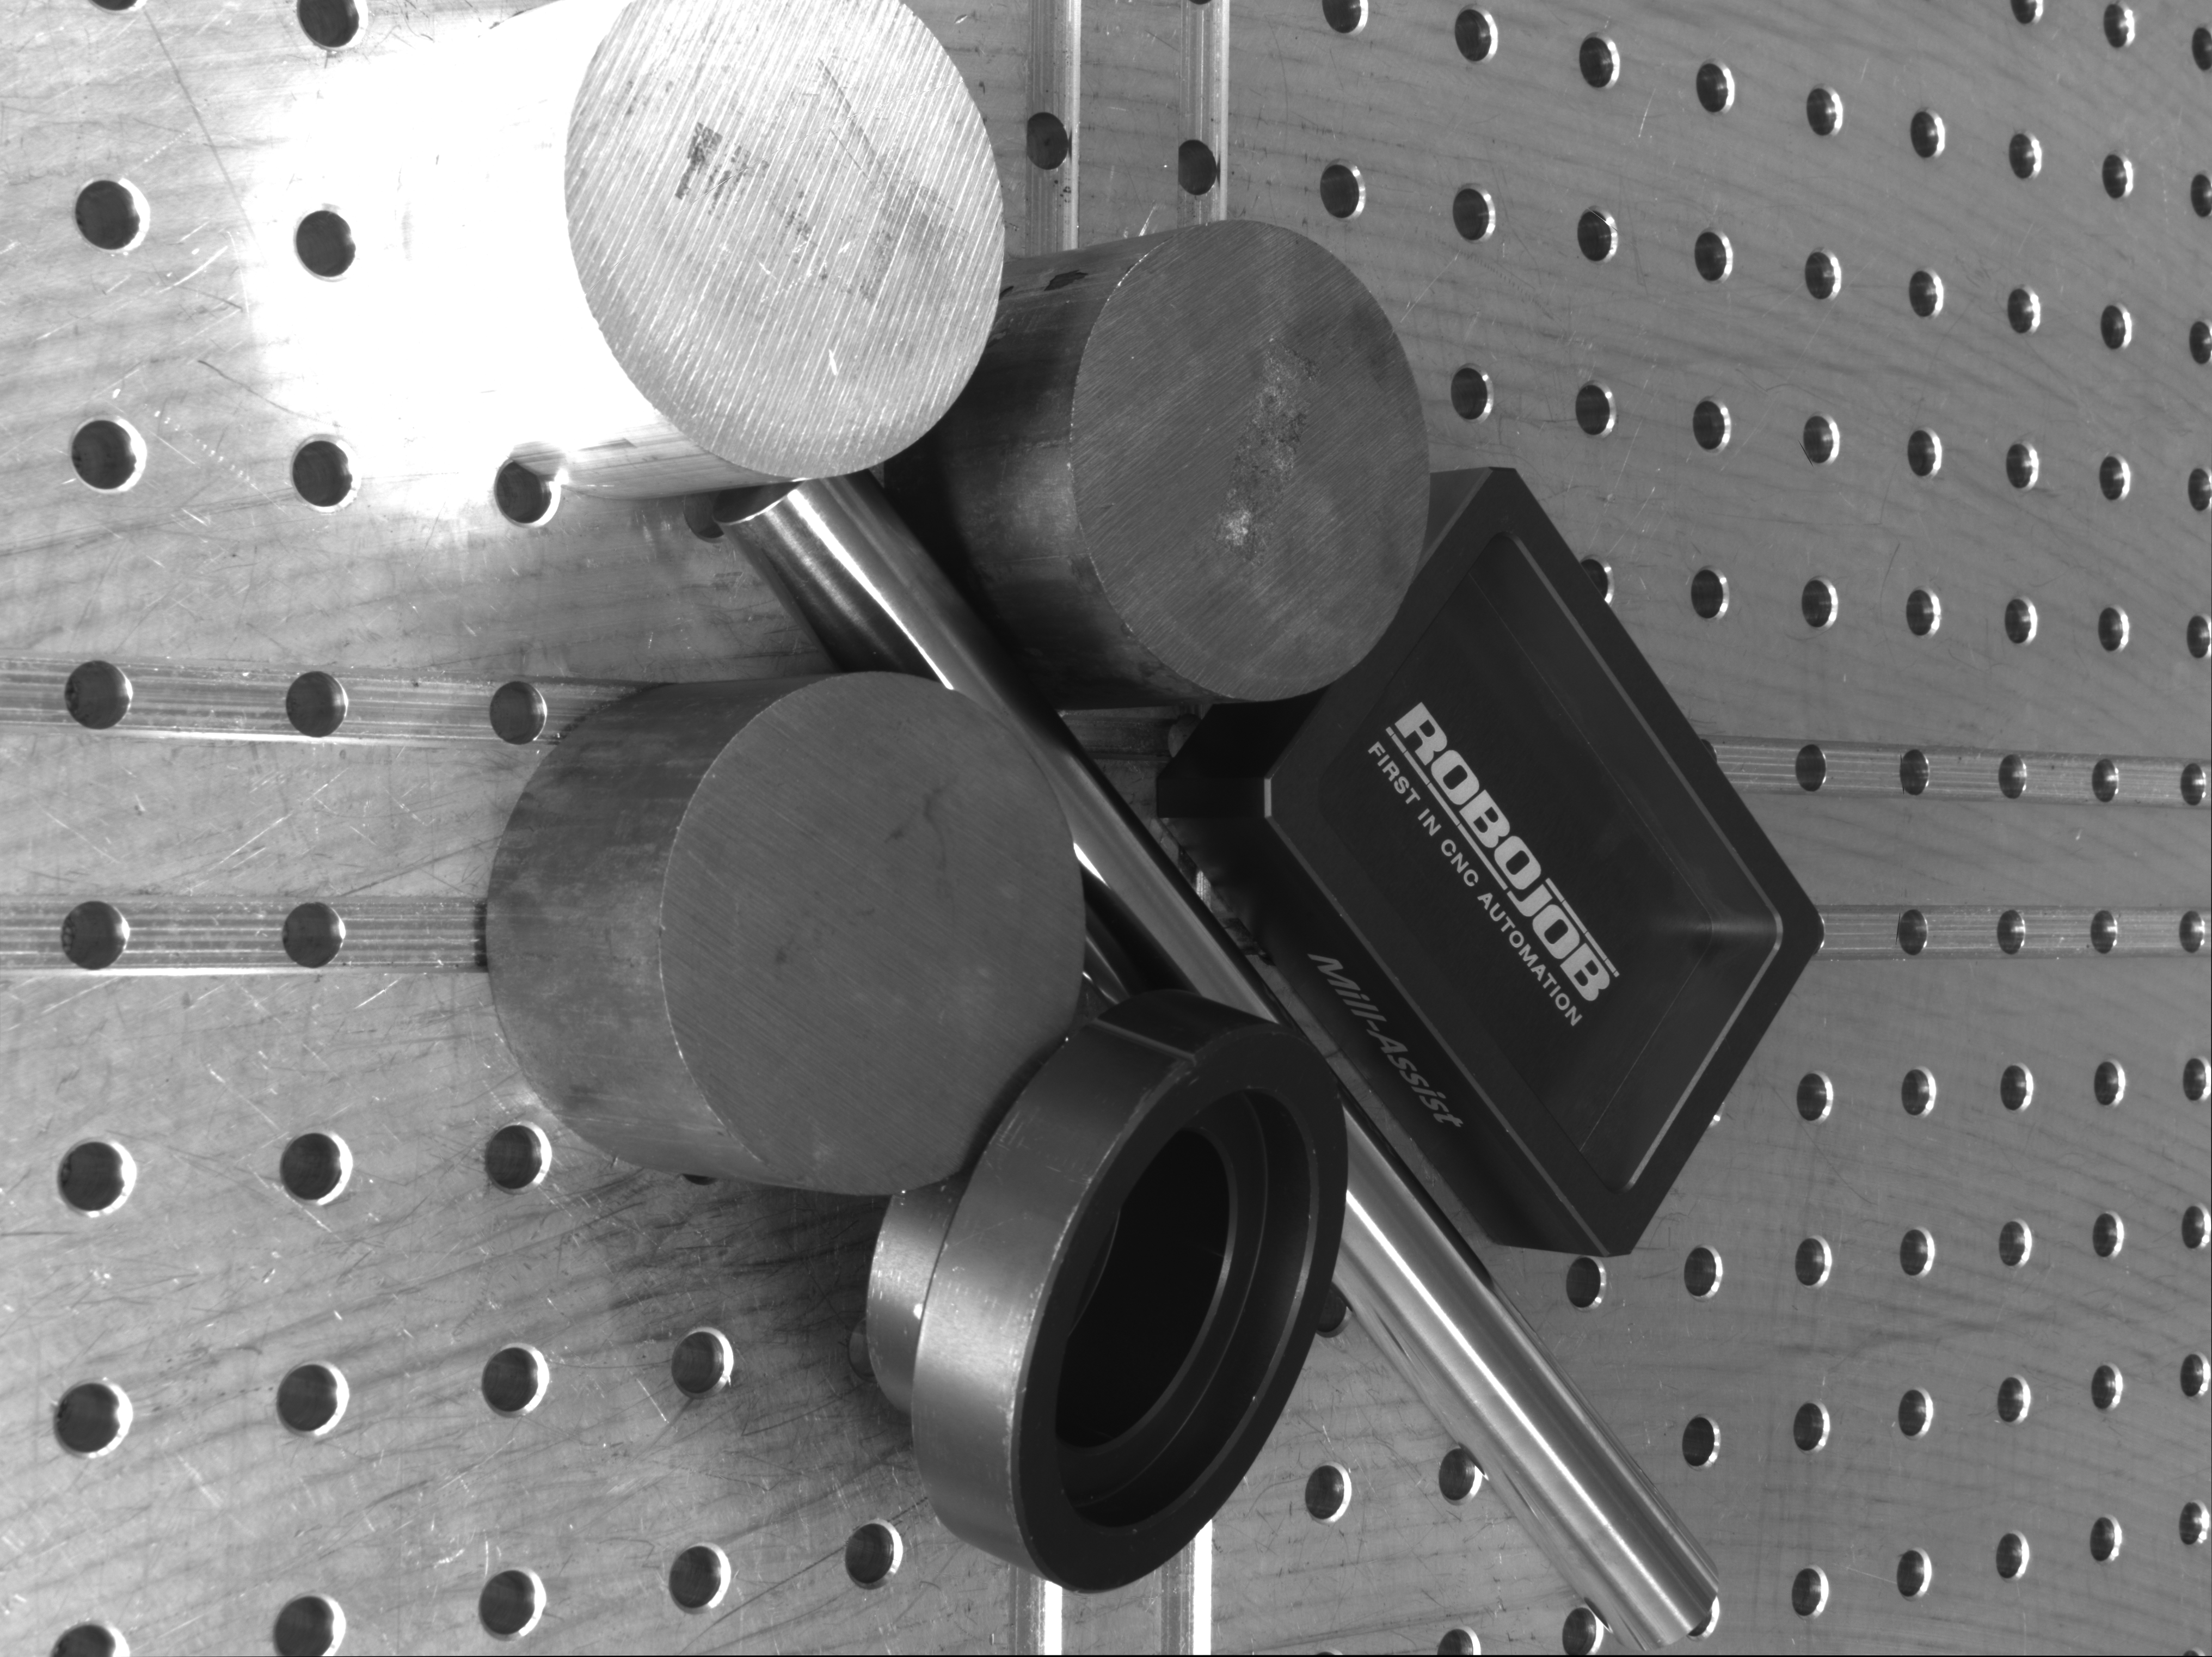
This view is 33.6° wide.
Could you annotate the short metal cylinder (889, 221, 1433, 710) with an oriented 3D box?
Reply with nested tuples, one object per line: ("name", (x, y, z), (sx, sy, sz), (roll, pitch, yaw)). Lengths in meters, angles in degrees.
("short metal cylinder", (0.010, -0.061, 0.630), (0.080, 0.050, 0.080), (0, 90, -40))

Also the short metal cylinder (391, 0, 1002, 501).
("short metal cylinder", (-0.063, -0.092, 0.570), (0.080, 0.050, 0.080), (0, 90, -40))

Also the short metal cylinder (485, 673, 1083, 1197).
("short metal cylinder", (-0.050, 0.016, 0.580), (0.080, 0.050, 0.080), (0, 90, -40))

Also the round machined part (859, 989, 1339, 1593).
("round machined part", (-0.004, 0.073, 0.610), (0.098, 0.042, 0.098), (-33, 131, -47))

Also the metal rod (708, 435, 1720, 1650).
("metal rod", (0.028, 0.048, 0.663), (0.301, 0.025, 0.025), (52, 60, -27))

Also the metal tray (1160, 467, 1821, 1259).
("metal tray", (0.076, 0.007, 0.698), (0.130, 0.030, 0.090), (51, 61, -28))
